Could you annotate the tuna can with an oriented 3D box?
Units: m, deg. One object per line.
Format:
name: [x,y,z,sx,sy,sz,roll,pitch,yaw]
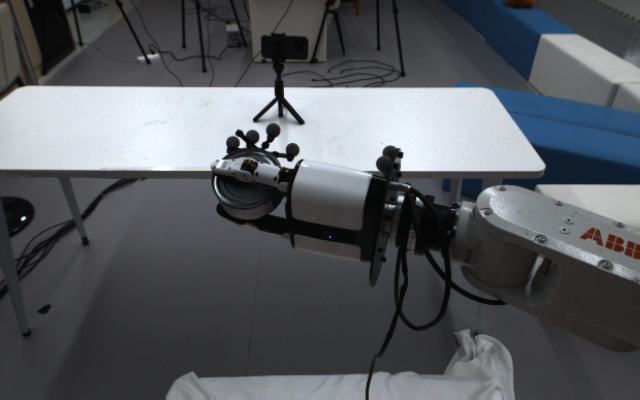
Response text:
tuna can: [-0.086,-0.021,0.588,0.085,0.034,0.085,-2,58,4]
